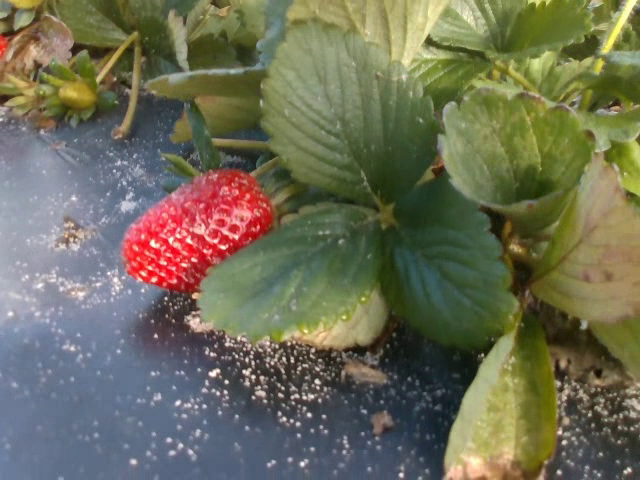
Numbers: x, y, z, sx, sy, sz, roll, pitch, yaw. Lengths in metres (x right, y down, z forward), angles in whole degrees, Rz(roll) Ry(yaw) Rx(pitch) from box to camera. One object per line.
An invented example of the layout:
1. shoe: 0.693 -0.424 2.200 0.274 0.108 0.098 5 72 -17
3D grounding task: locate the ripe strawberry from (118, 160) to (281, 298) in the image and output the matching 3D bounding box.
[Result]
1. ripe strawberry: -0.026 -0.002 0.121 0.036 0.021 0.029 -26 31 -31
